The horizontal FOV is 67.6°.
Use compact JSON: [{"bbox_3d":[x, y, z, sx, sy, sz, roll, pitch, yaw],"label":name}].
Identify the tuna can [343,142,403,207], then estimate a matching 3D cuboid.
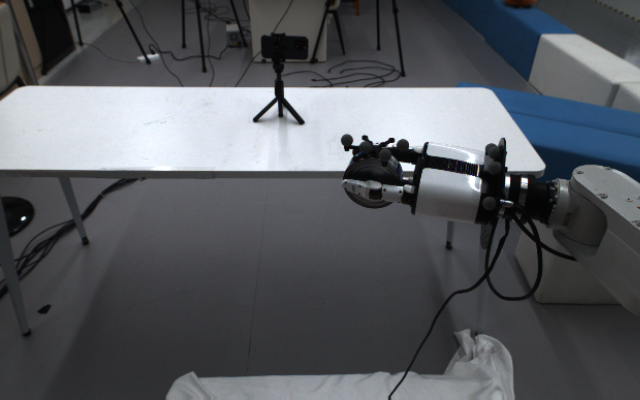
[{"bbox_3d":[0.080,-0.035,0.715,0.085,0.085,0.034,10,34,12],"label":"tuna can"}]
